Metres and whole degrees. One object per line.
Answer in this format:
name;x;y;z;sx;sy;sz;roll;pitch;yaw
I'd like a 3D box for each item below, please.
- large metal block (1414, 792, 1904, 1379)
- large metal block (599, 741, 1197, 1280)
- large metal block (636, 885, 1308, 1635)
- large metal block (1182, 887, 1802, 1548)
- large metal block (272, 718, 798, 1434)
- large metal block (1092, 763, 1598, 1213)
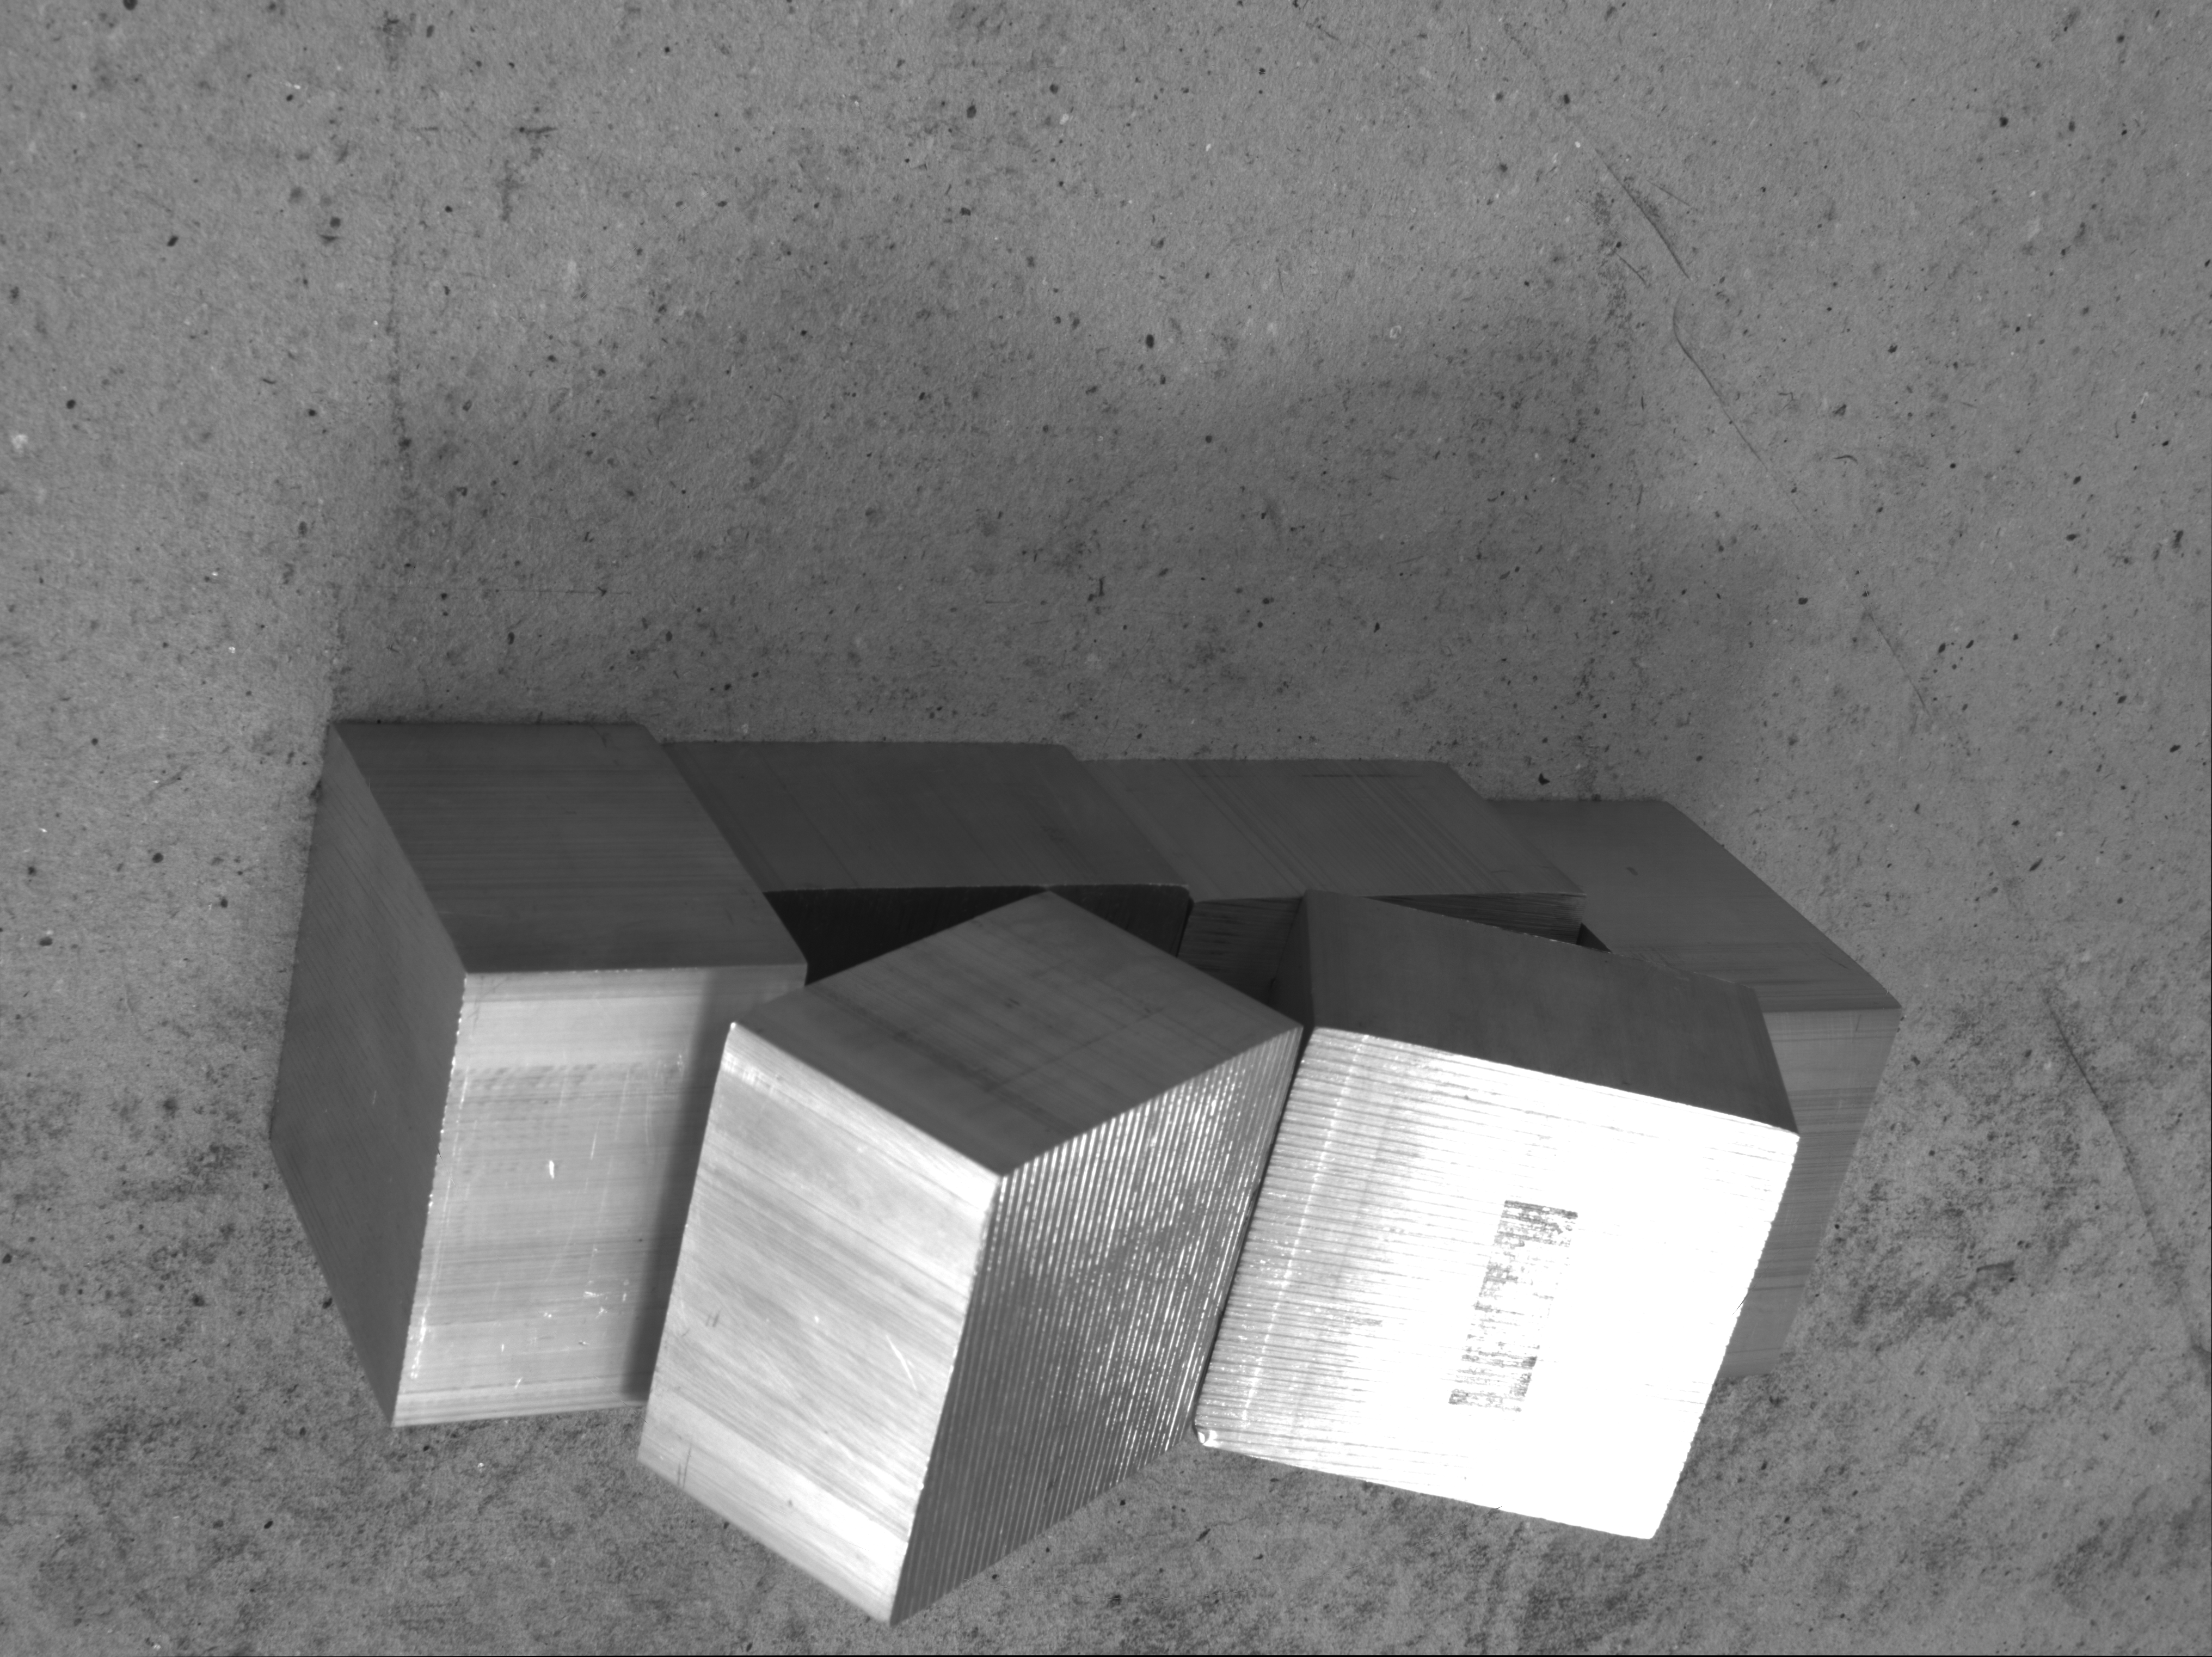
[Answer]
large metal block;0.093;0.047;0.682;0.050;0.080;0.080;-1;119;-29
large metal block;-0.040;0.033;0.619;0.080;0.050;0.080;0;118;-28
large metal block;-0.020;0.064;0.564;0.080;0.050;0.080;-21;132;-52
large metal block;0.061;0.064;0.609;0.080;0.050;0.080;13;114;-5
large metal block;-0.092;0.036;0.574;0.050;0.080;0.080;0;117;-27
large metal block;0.031;0.036;0.658;0.080;0.050;0.080;0;118;-28
